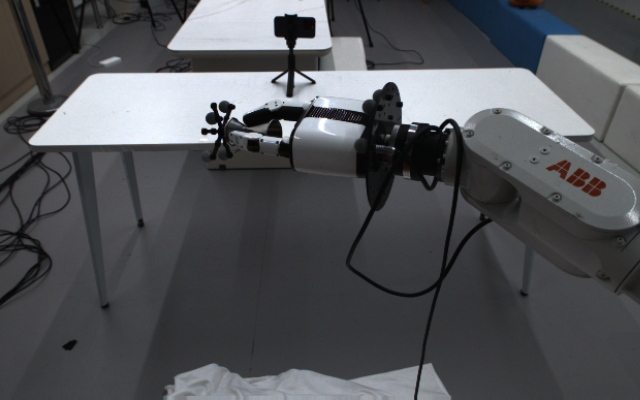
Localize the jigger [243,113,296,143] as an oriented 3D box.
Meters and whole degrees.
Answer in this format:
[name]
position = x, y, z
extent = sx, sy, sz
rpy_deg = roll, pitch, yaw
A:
[jigger]
position = -0.086, -0.094, 0.663
extent = 0.071, 0.043, 0.043
rpy_deg = 7, 34, 23
